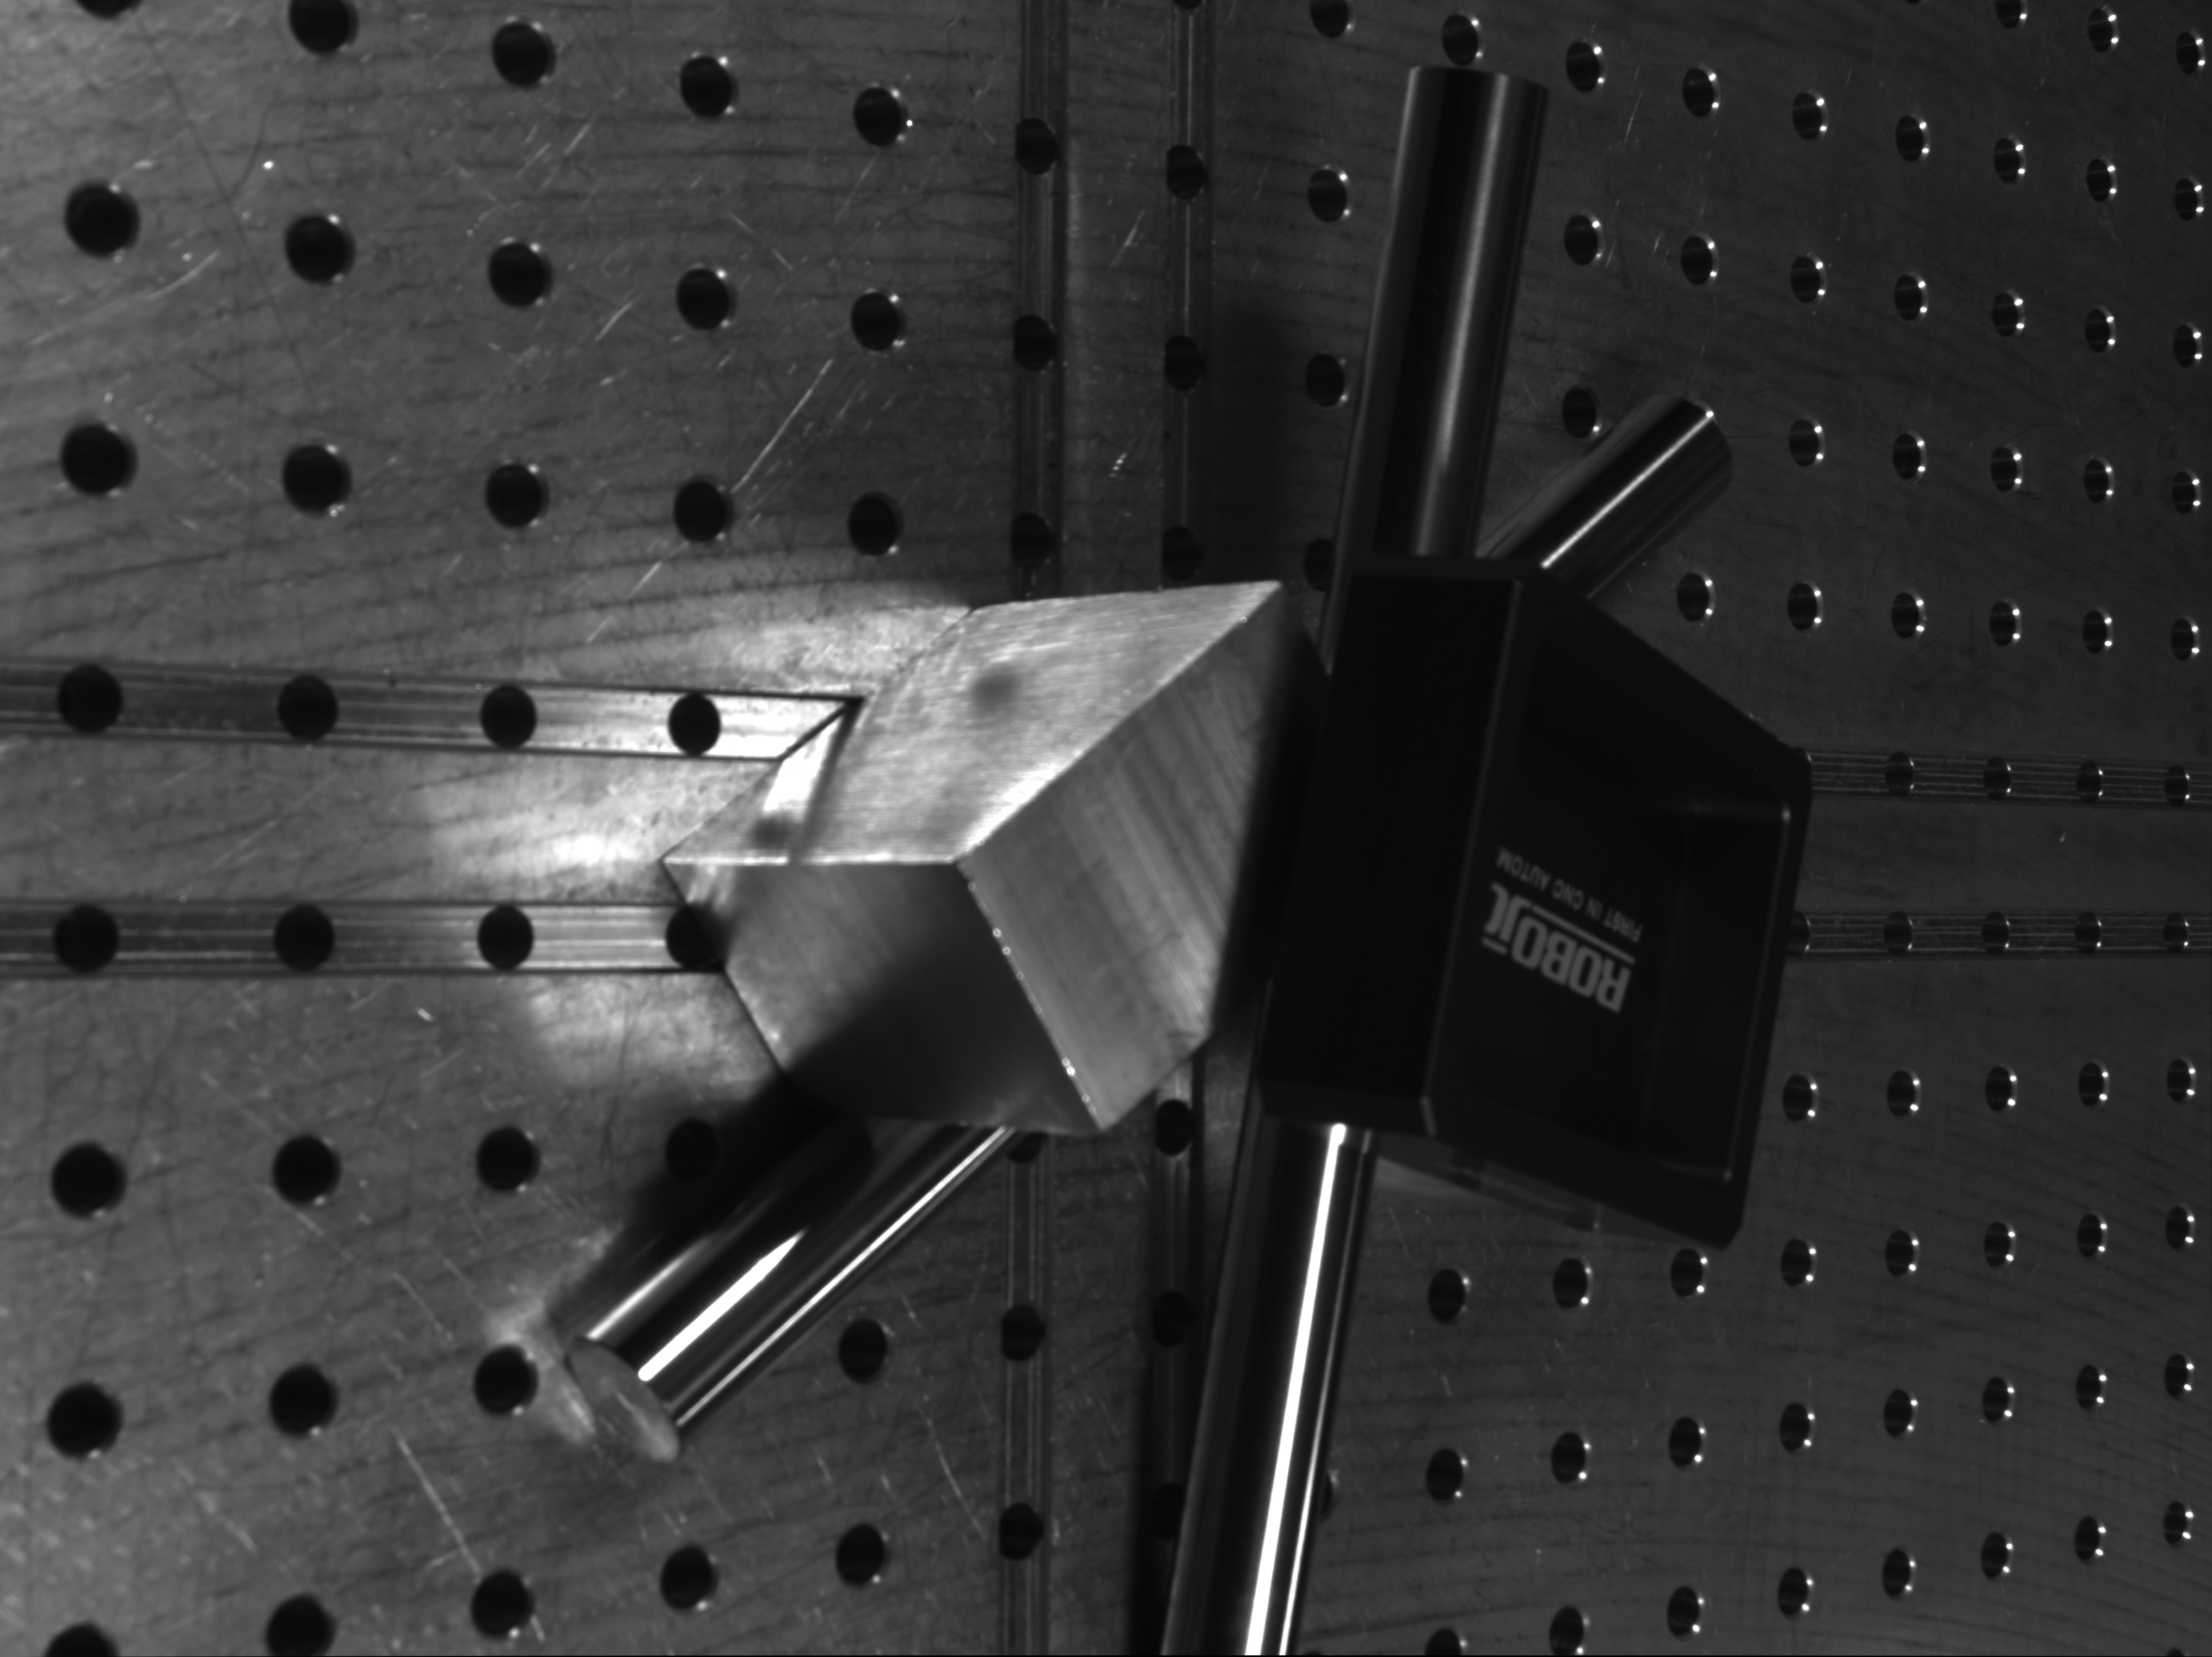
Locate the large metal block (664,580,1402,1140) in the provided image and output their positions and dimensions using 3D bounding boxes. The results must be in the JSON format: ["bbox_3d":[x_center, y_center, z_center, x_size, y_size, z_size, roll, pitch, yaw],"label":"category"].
[{"bbox_3d":[-0.010,0.004,0.595,0.080,0.080,0.050,-41,115,-32],"label":"large metal block"}]

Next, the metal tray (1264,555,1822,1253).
[{"bbox_3d":[0.077,0.016,0.609,0.130,0.030,0.090,25,73,-56],"label":"metal tray"}]

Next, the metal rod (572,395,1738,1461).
[{"bbox_3d":[0.021,0.007,0.658,0.300,0.025,0.025,-41,115,-32],"label":"metal rod"}]

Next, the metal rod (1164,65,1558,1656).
[{"bbox_3d":[0.043,0.018,0.647,0.025,0.025,0.300,5,96,-40],"label":"metal rod"}]

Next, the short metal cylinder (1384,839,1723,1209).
[{"bbox_3d":[0.077,0.031,0.687,0.080,0.050,0.080,0,90,-40],"label":"short metal cylinder"}]
